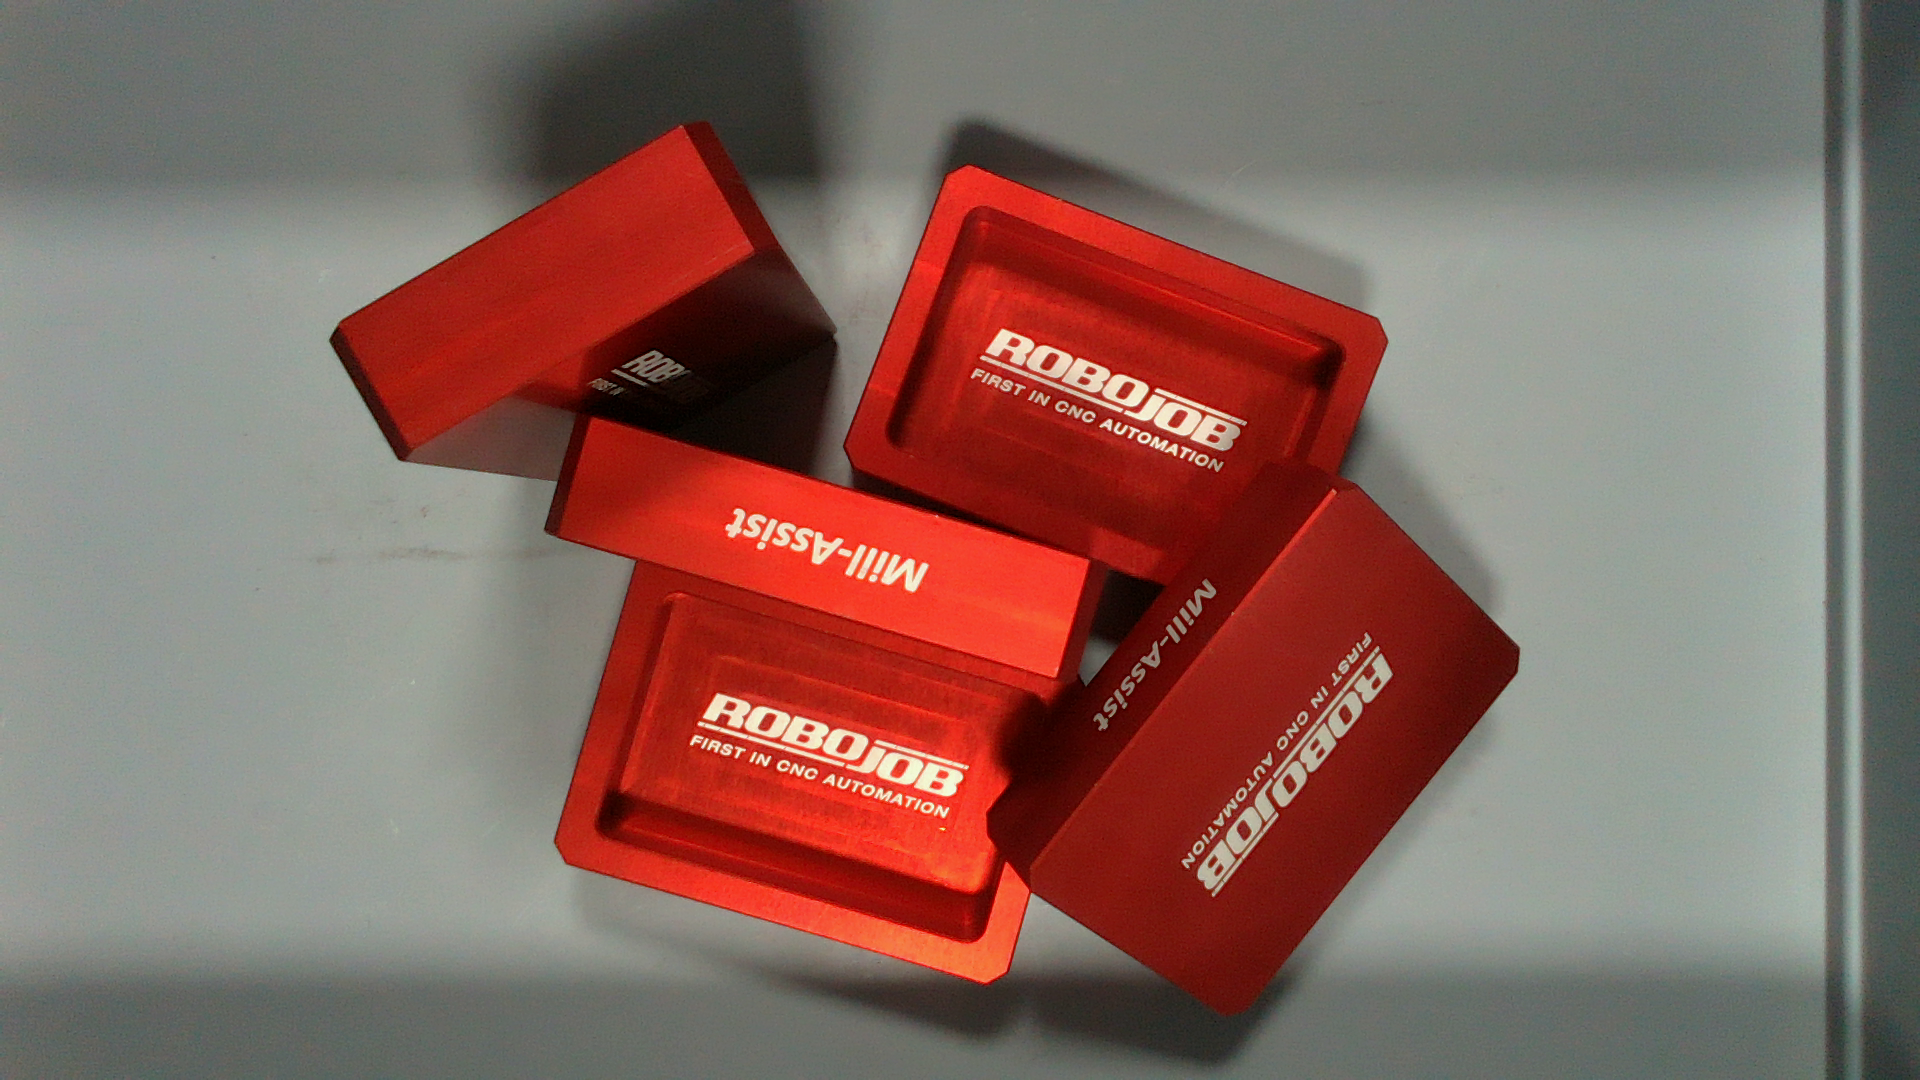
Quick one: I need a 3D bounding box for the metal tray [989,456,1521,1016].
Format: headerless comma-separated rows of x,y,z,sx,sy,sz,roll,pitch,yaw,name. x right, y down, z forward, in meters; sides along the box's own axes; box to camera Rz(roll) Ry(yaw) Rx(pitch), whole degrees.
0.081,0.055,0.372,0.090,0.030,0.130,38,90,-29,metal tray

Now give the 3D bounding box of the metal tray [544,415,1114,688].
-0.030,0.003,0.360,0.130,0.090,0.030,16,90,0,metal tray

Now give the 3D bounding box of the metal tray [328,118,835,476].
-0.082,-0.052,0.340,0.090,0.130,0.030,-30,90,1,metal tray

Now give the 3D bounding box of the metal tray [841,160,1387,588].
0.042,-0.041,0.391,0.130,0.030,0.090,21,90,0,metal tray

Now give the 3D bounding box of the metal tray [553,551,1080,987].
-0.038,0.063,0.390,0.130,0.030,0.090,16,90,0,metal tray
